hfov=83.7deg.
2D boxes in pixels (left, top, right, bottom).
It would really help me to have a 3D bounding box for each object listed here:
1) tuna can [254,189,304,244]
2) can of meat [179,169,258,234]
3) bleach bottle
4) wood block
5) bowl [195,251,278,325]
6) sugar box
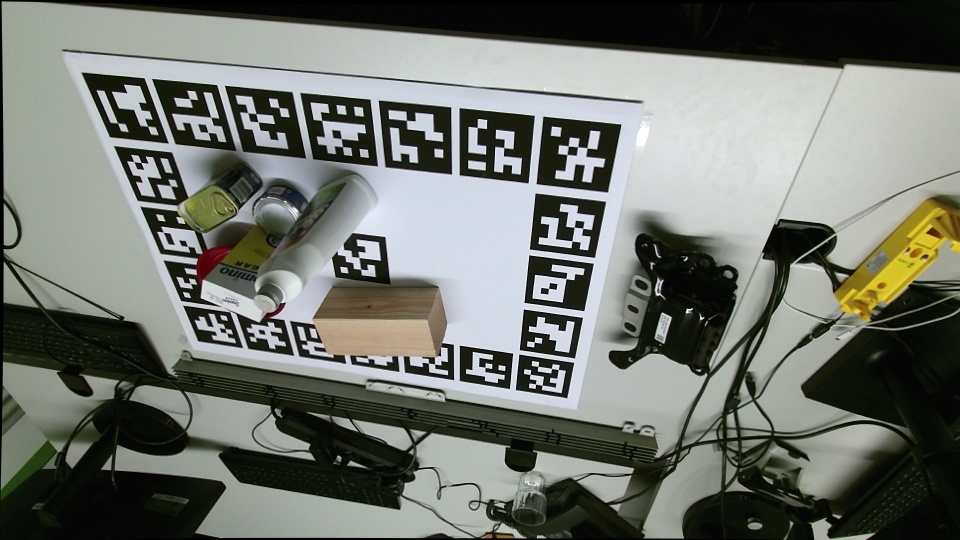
[{"bbox_3d":[-0.322,-0.086,0.858,0.086,0.033,0.086,5,124,7],"label":"tuna can"},{"bbox_3d":[-0.409,-0.105,0.839,0.102,0.083,0.058,-19,123,25],"label":"can of meat"},{"bbox_3d":[-0.240,-0.032,0.750,0.103,0.250,0.068,-16,122,21],"label":"bleach bottle"},{"bbox_3d":[-0.175,0.096,0.937,0.207,0.089,0.091,-1,122,13],"label":"wood block"},{"bbox_3d":[-0.427,0.022,0.951,0.162,0.055,0.162,3,127,4],"label":"bowl"},{"bbox_3d":[-0.357,0.002,0.842,0.093,0.176,0.045,22,125,-9],"label":"sugar box"}]
